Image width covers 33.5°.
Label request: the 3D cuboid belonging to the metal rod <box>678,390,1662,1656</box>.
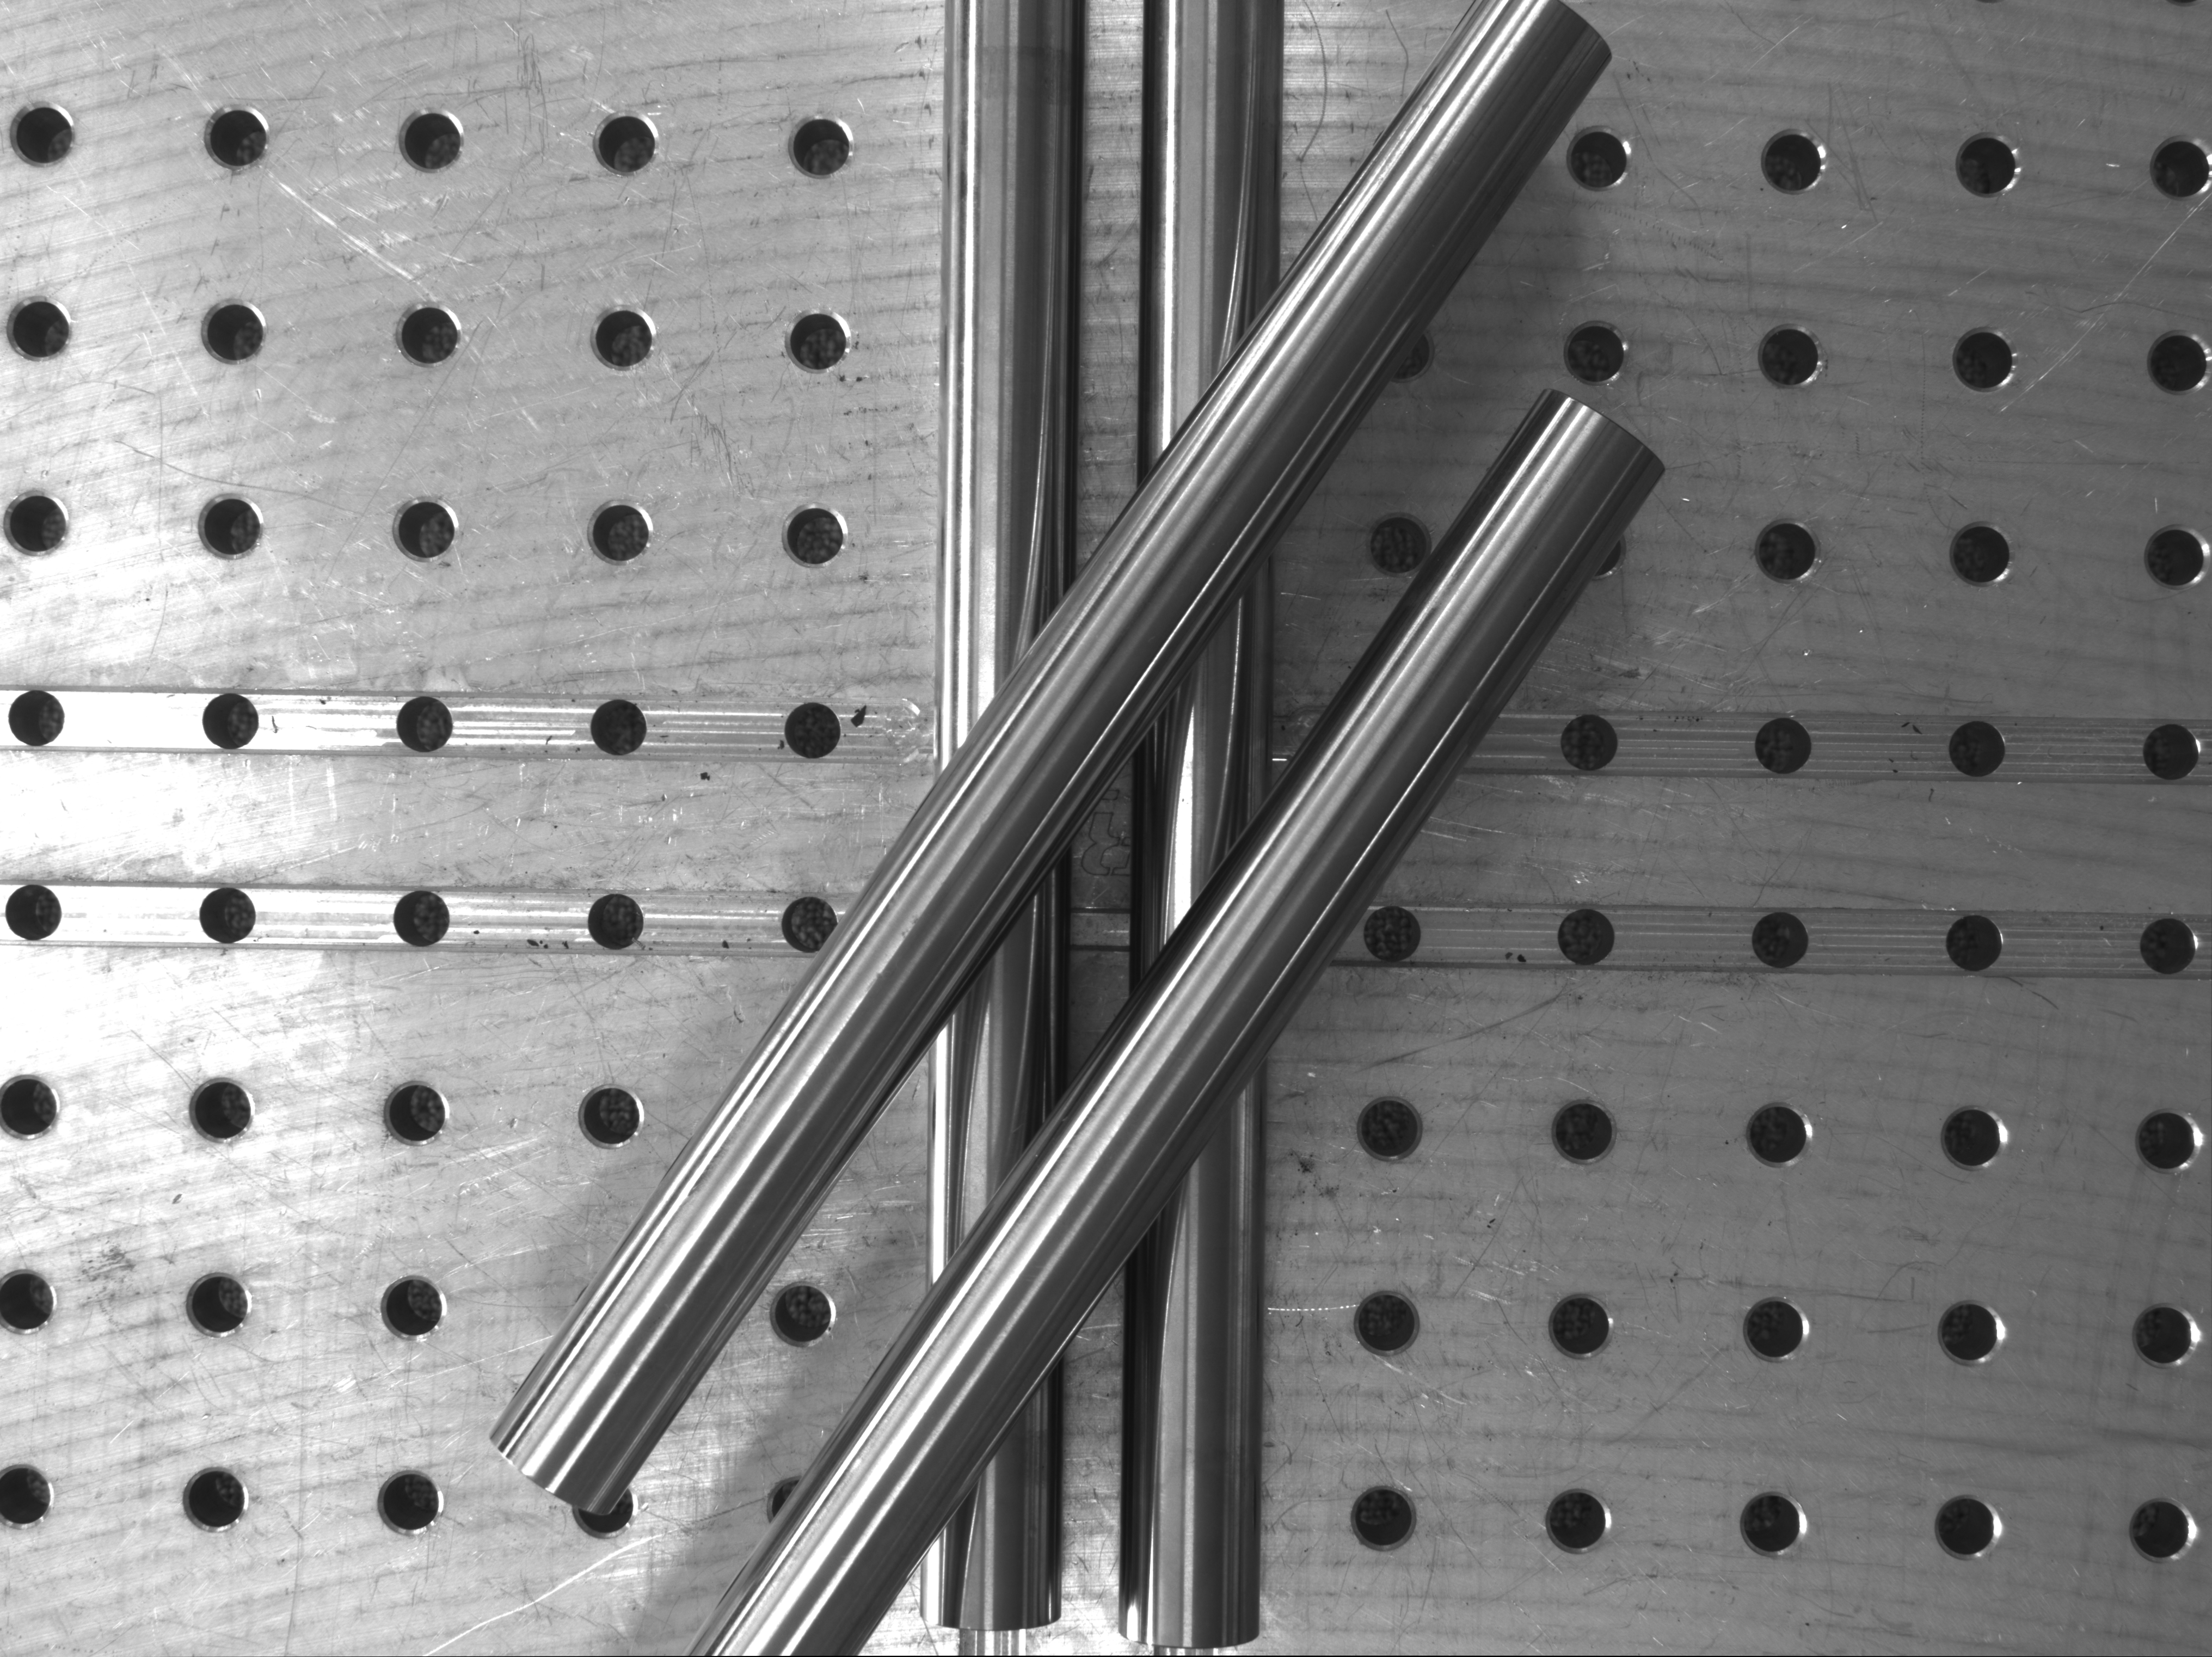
[{"bbox_3d":[-0.001,0.057,0.623,0.025,0.025,0.300,34,90,0],"label":"metal rod"}]

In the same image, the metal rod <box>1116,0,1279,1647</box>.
[{"bbox_3d":[0.016,-0.008,0.649,0.025,0.025,0.300,1,90,0],"label":"metal rod"}]

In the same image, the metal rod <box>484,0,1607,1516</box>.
[{"bbox_3d":[-0.010,-0.014,0.624,0.025,0.025,0.300,34,90,0],"label":"metal rod"}]

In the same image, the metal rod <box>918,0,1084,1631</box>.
[{"bbox_3d":[-0.018,-0.011,0.649,0.025,0.025,0.300,1,90,0],"label":"metal rod"}]
